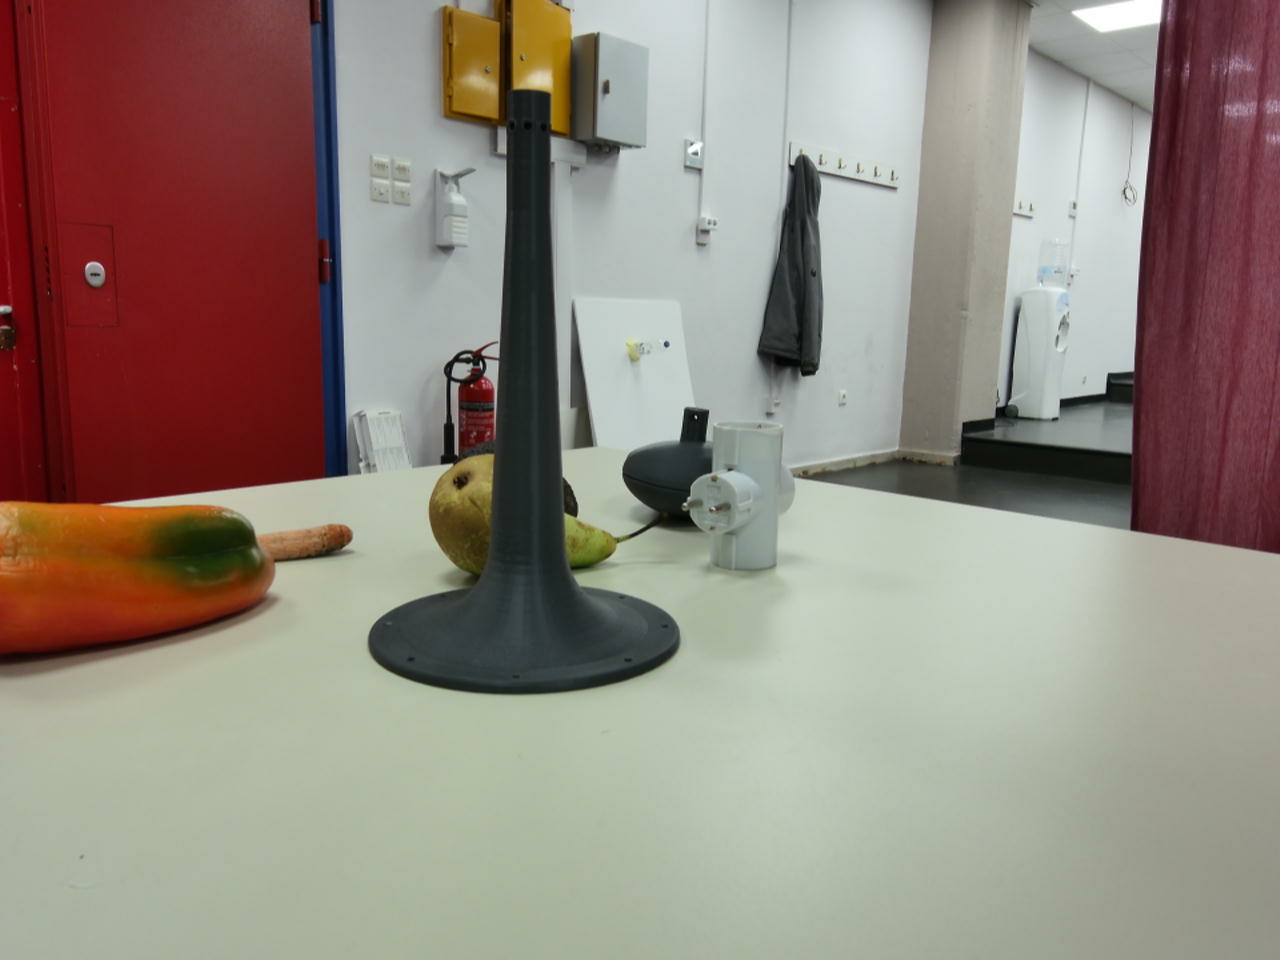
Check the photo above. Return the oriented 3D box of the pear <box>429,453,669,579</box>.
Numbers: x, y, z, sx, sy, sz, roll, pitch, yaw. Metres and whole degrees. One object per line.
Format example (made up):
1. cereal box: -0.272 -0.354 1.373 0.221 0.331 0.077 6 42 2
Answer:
1. pear: -0.060 0.019 0.621 0.144 0.075 0.072 -7 10 -39
